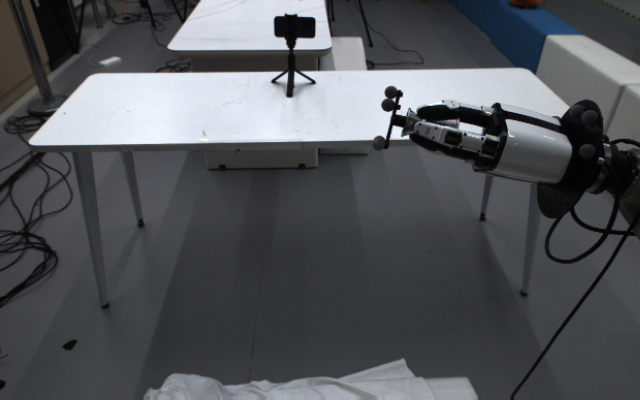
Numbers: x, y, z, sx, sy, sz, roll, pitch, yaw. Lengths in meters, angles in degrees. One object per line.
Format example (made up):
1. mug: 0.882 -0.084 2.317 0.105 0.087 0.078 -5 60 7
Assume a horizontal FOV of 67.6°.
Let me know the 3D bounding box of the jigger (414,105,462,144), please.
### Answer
1. jigger: 0.153 -0.099 0.652 0.071 0.043 0.043 14 36 4
